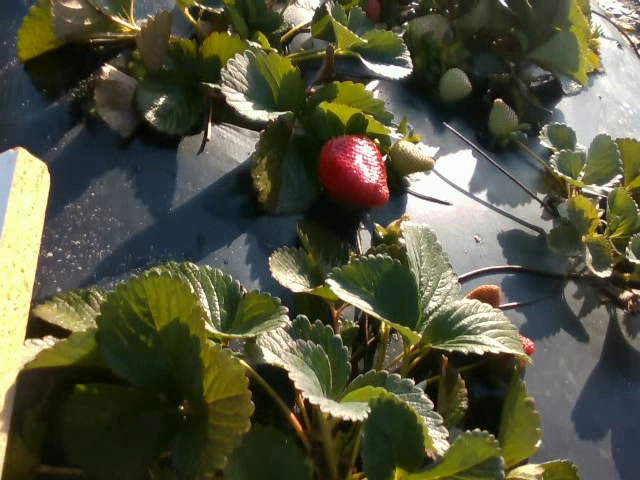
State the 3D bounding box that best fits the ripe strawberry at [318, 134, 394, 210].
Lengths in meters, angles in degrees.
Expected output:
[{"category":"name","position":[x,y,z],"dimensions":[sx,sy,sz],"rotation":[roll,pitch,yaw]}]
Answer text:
[{"category":"ripe strawberry","position":[0.025,-0.042,0.390],"dimensions":[0.055,0.056,0.072],"rotation":[46,7,-43]}]
